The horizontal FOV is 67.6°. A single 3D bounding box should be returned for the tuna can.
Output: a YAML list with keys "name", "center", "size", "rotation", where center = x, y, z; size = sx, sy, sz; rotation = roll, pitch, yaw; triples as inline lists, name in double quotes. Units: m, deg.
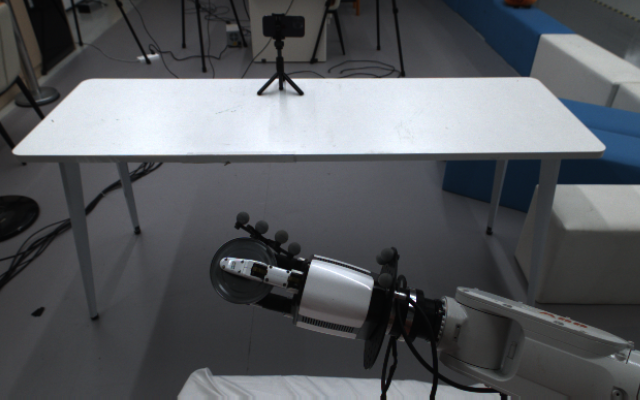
- name: "tuna can"
  center: [-0.096, 0.093, 0.627]
  size: [0.085, 0.034, 0.085]
  rotation: [1, 74, -4]
